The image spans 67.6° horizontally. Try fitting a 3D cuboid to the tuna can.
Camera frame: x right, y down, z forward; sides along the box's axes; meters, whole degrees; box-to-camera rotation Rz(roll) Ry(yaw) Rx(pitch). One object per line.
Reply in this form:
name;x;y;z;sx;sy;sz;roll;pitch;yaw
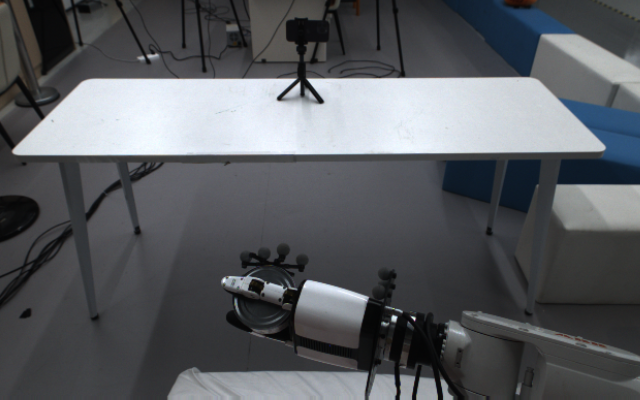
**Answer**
tuna can;-0.068;0.131;0.640;0.085;0.034;0.085;-3;61;6
